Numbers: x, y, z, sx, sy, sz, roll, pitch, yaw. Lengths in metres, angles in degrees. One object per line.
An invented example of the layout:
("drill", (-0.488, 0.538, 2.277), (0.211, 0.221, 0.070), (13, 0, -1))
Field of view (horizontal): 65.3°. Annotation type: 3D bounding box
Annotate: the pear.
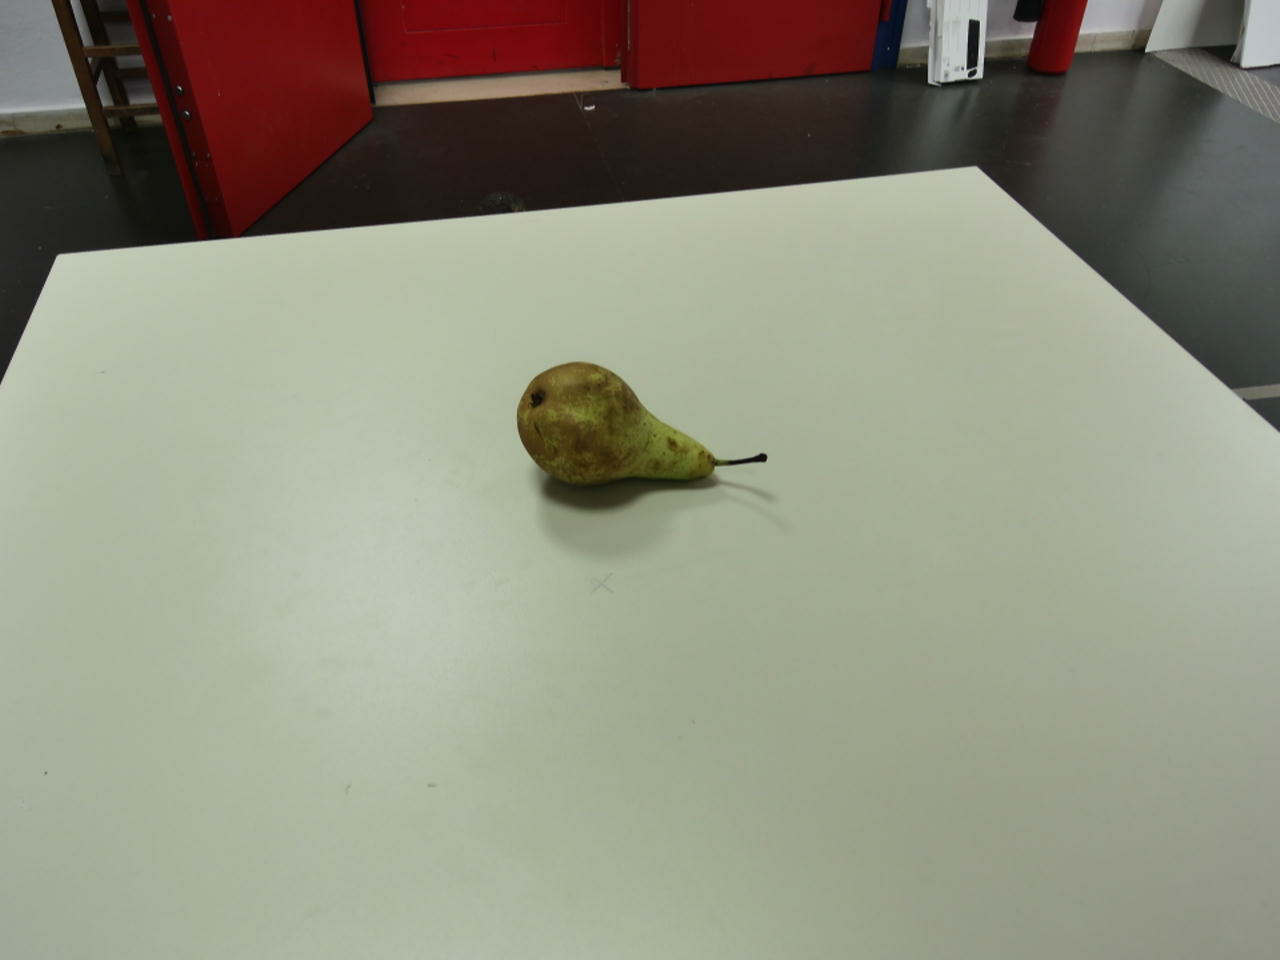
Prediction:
("pear", (-0.001, -0.036, 0.594), (0.144, 0.075, 0.071), (-4, 39, -4))
